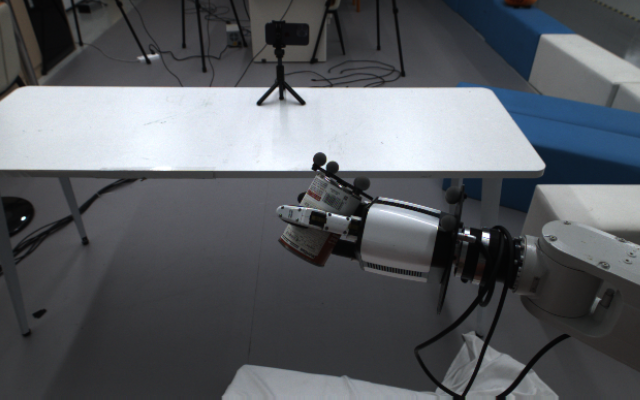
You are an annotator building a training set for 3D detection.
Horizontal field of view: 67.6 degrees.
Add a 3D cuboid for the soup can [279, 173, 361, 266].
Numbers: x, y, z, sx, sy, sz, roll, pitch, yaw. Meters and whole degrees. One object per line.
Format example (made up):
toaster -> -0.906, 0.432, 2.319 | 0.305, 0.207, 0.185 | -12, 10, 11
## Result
soup can -> 0.002, 0.025, 0.618 | 0.067, 0.101, 0.067 | 30, 2, -1
